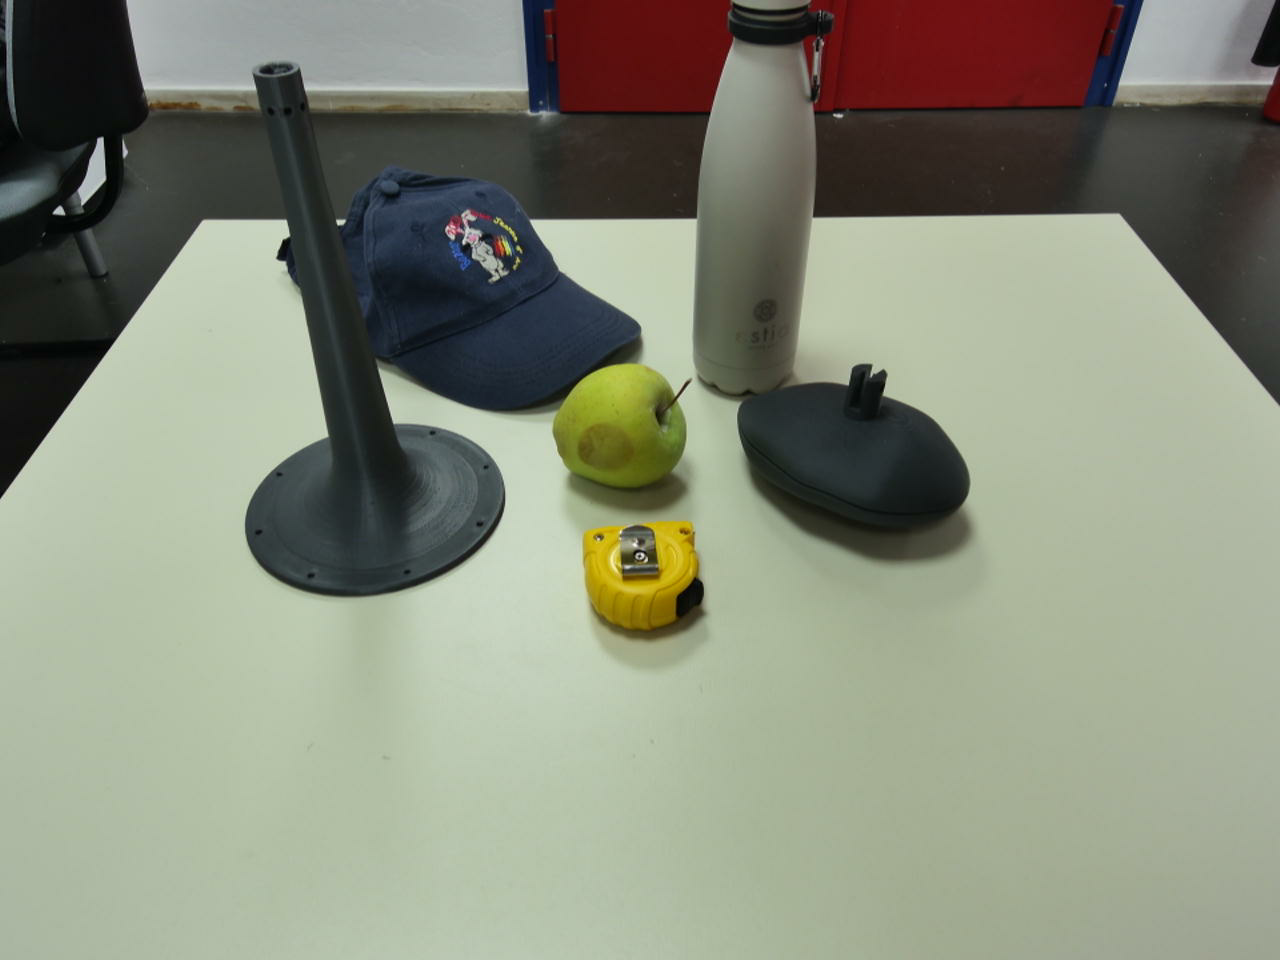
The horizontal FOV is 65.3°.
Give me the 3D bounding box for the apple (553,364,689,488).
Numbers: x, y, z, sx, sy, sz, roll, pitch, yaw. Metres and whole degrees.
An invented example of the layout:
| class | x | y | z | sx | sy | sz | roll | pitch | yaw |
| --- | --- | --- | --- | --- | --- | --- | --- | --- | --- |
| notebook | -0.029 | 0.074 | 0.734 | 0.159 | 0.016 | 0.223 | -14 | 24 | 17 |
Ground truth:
| class | x | y | z | sx | sy | sz | roll | pitch | yaw |
| --- | --- | --- | --- | --- | --- | --- | --- | --- | --- |
| apple | -0.011 | -0.034 | 0.598 | 0.077 | 0.075 | 0.072 | 32 | 48 | 33 |
